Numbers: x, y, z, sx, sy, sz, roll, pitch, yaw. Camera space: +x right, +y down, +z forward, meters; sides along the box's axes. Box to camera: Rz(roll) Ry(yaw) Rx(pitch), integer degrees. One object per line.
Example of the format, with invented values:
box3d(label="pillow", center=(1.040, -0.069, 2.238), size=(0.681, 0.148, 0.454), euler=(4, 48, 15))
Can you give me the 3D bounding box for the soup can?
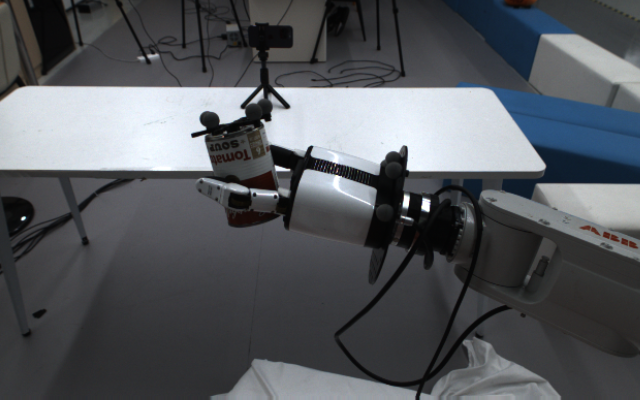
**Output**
box3d(label="soup can", center=(-0.080, -0.029, 0.539), size=(0.067, 0.101, 0.067), euler=(-12, 17, 4))
